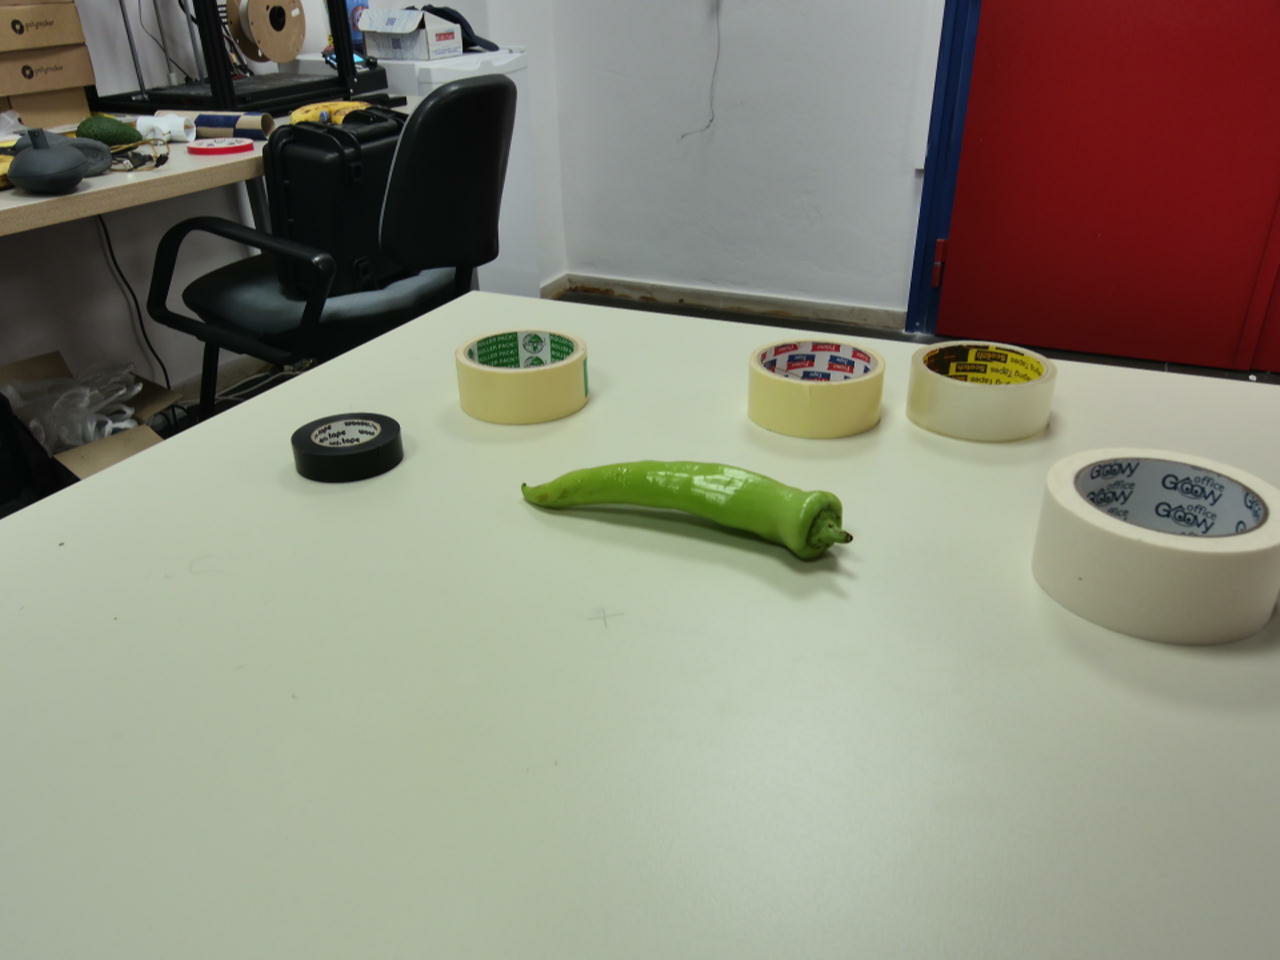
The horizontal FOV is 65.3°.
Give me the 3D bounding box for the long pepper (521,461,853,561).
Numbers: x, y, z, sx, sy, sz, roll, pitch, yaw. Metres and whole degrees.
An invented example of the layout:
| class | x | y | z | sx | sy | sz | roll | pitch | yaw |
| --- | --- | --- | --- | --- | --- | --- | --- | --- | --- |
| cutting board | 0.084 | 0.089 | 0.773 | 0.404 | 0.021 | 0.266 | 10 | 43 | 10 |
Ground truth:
| class | x | y | z | sx | sy | sz | roll | pitch | yaw |
| --- | --- | --- | --- | --- | --- | --- | --- | --- | --- |
| long pepper | 0.023 | 0.008 | 0.542 | 0.197 | 0.038 | 0.046 | 12 | 28 | 25 |
